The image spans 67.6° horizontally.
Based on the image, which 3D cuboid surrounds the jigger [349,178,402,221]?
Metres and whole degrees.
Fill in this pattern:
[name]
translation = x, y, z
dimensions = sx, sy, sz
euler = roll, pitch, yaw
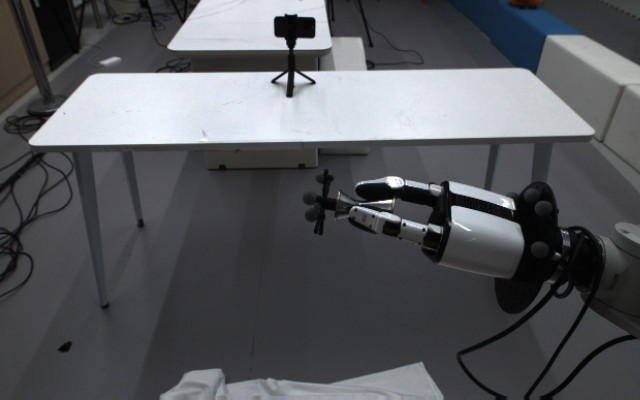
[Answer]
[jigger]
translation = 0.062, 0.006, 0.590
dimensions = 0.071, 0.043, 0.043
euler = 7, 35, 8
